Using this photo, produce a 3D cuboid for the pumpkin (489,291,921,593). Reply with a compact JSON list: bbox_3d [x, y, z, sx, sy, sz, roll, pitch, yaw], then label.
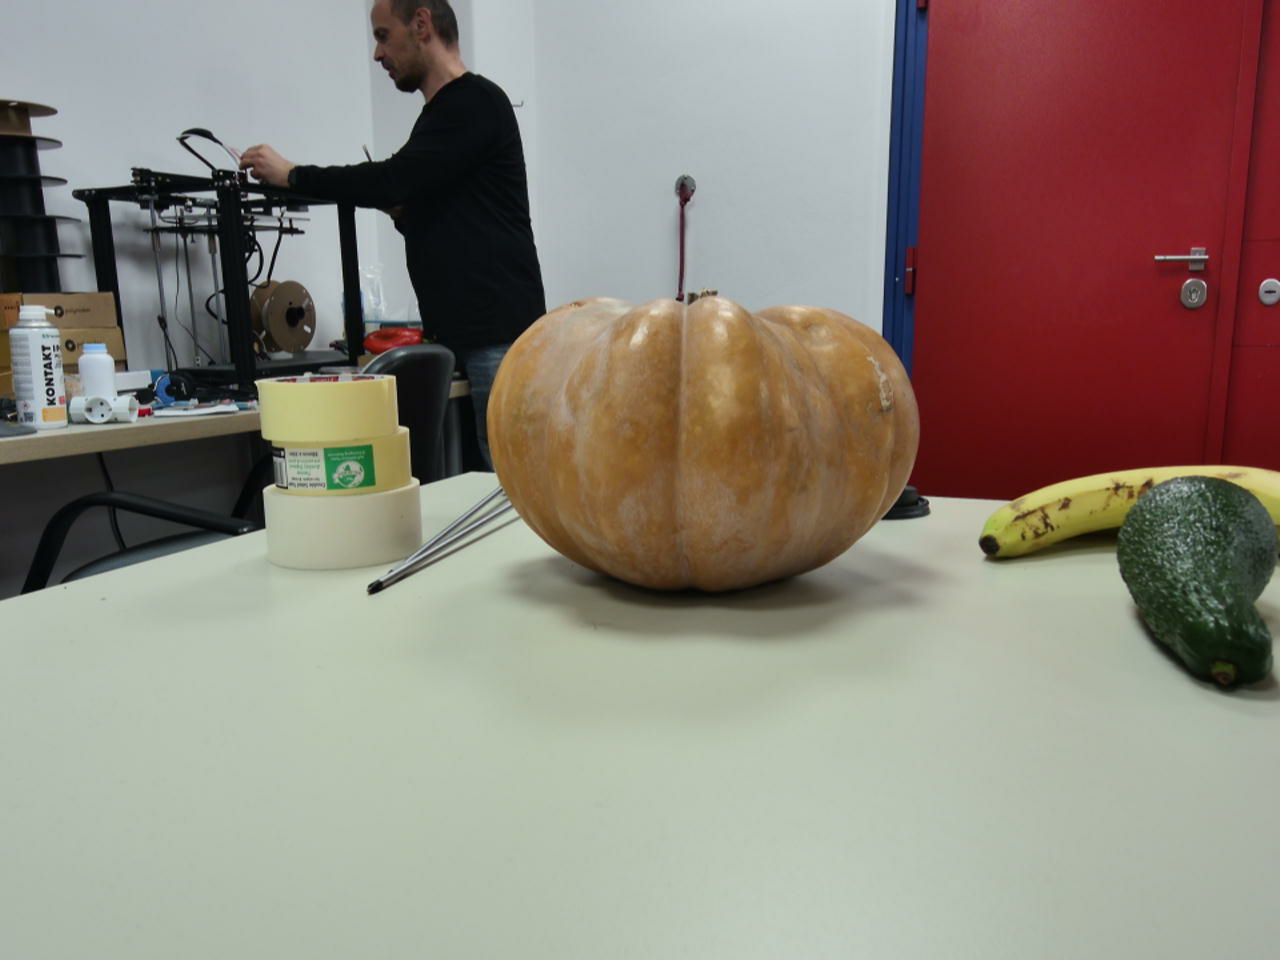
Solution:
[{"bbox_3d":[0.035,-0.029,0.635,0.277,0.181,0.277,0,7,0],"label":"pumpkin"}]
